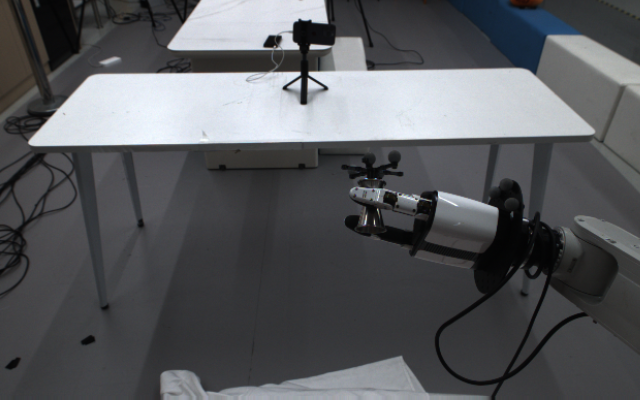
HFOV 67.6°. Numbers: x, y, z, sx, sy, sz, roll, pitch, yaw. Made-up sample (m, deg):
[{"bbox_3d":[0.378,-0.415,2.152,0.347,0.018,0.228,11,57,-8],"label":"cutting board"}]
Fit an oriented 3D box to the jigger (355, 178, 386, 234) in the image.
[{"bbox_3d":[0.069,0.007,0.667,0.043,0.043,0.071,3,75,1],"label":"jigger"}]
